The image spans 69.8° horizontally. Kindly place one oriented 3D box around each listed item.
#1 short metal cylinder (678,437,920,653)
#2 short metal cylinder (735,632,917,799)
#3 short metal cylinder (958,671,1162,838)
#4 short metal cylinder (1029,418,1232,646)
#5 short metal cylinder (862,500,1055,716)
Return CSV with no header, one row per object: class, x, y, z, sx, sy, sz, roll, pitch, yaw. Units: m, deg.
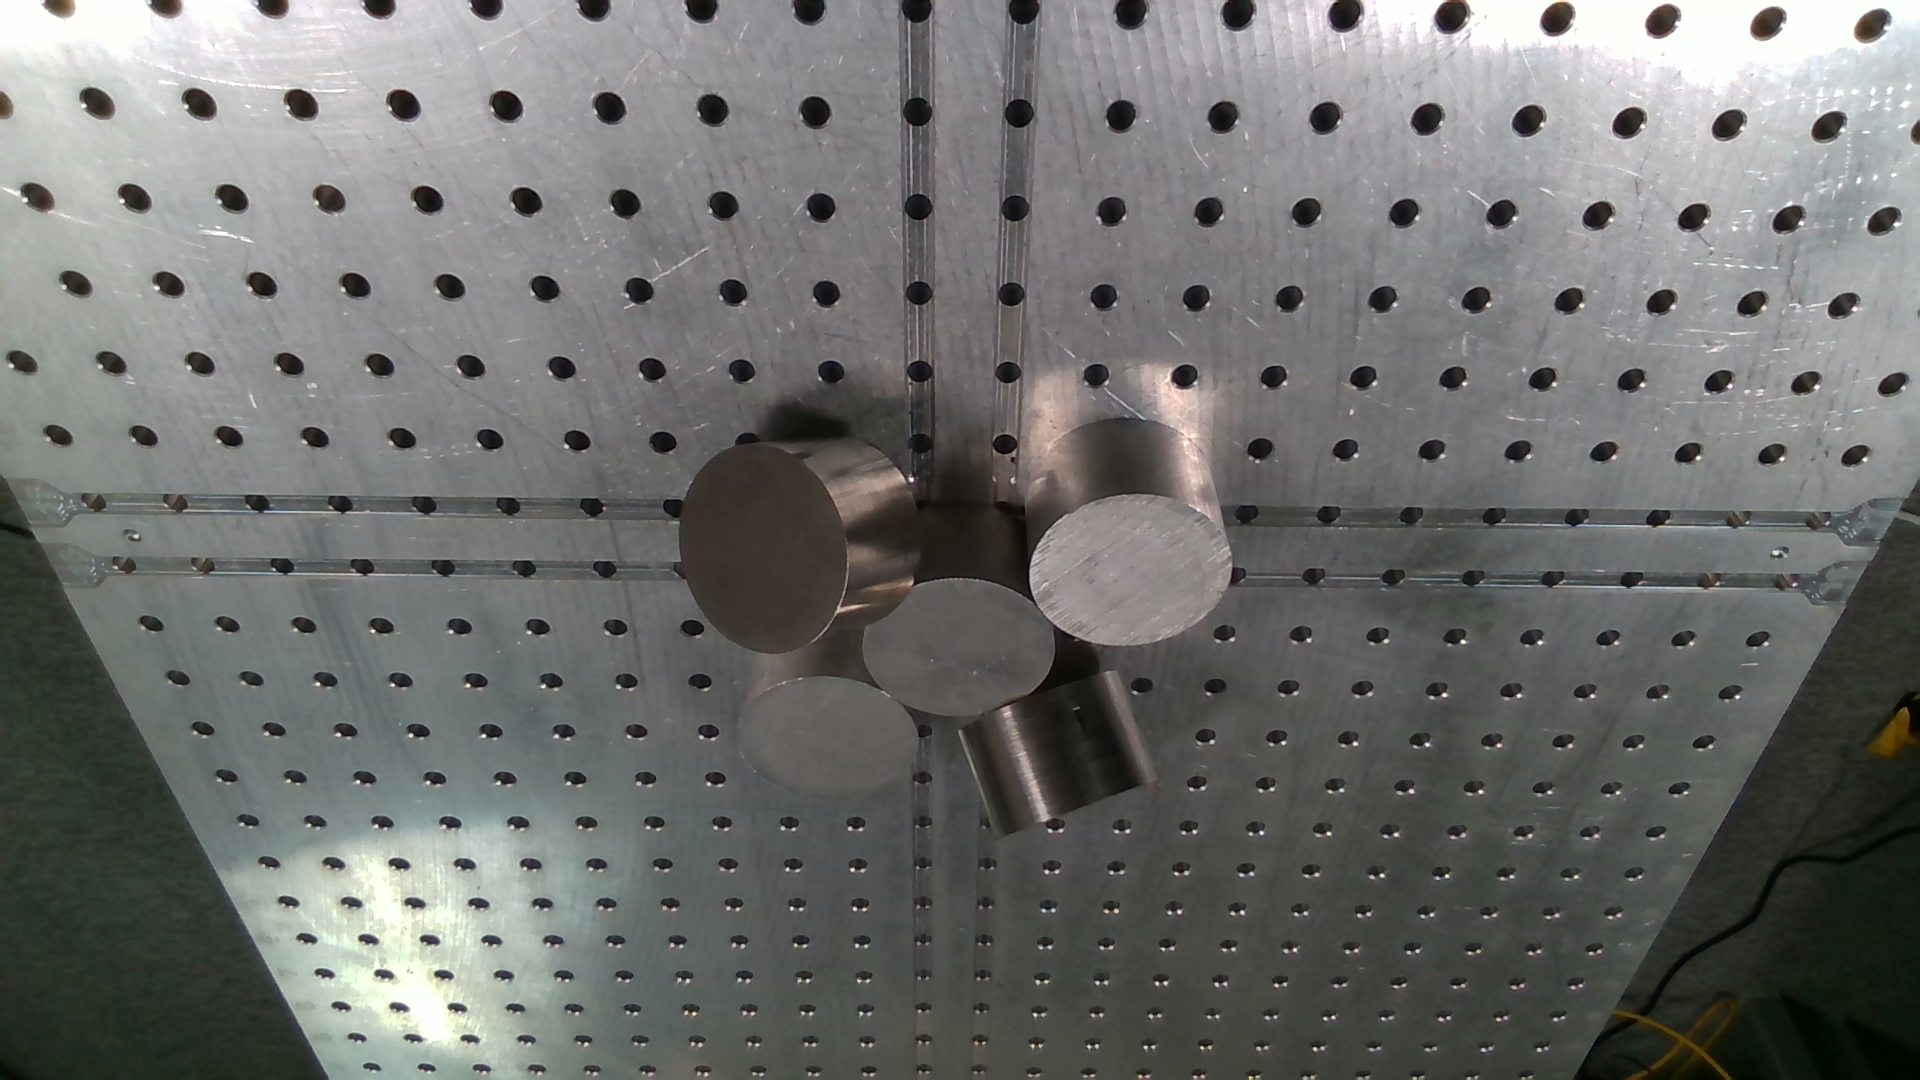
short metal cylinder,-0.063,0.000,0.539,0.080,0.050,0.080,6,101,30
short metal cylinder,-0.059,0.072,0.626,0.080,0.050,0.080,0,130,0
short metal cylinder,0.044,0.097,0.621,0.080,0.050,0.080,-19,168,-4
short metal cylinder,0.067,-0.003,0.563,0.080,0.050,0.080,0,130,0
short metal cylinder,-0.001,0.030,0.591,0.080,0.050,0.080,0,130,0
